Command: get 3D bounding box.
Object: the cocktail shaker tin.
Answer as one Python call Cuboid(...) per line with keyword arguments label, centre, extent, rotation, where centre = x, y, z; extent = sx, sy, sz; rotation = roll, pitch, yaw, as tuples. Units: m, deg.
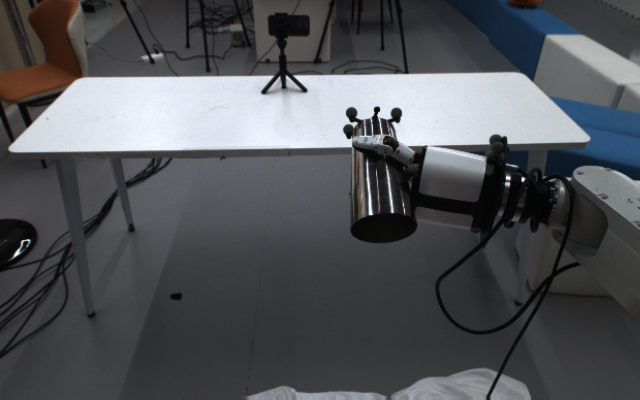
Cuboid(label="cocktail shaker tin", centre=(0.084, -0.034, 0.701), extent=(0.093, 0.093, 0.170), rotation=(0, 59, -3))
